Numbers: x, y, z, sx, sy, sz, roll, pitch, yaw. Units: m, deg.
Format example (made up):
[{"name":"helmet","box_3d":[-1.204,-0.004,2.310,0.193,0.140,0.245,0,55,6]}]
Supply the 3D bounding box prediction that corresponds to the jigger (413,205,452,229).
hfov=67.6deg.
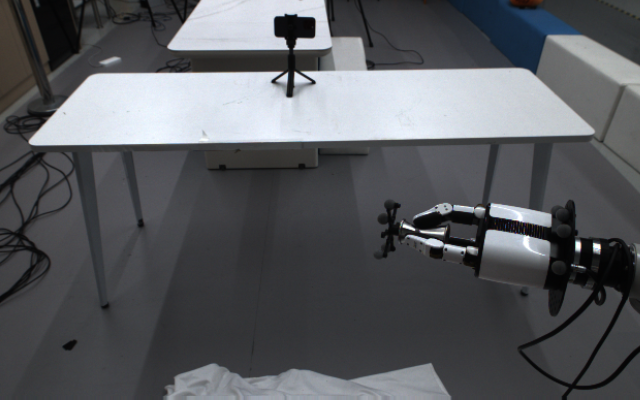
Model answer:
[{"name":"jigger","box_3d":[0.160,0.048,0.716,0.071,0.043,0.043,8,34,23]}]
